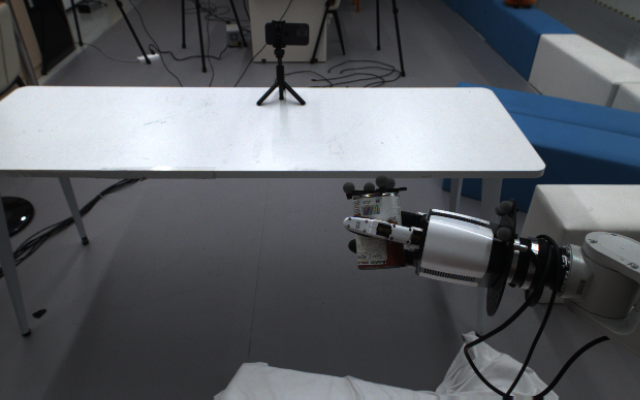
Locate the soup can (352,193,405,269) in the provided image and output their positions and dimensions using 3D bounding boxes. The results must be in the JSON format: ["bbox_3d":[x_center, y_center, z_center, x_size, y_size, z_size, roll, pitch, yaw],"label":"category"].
[{"bbox_3d":[0.084,0.044,0.678,0.067,0.101,0.067,-5,-5,0],"label":"soup can"}]
